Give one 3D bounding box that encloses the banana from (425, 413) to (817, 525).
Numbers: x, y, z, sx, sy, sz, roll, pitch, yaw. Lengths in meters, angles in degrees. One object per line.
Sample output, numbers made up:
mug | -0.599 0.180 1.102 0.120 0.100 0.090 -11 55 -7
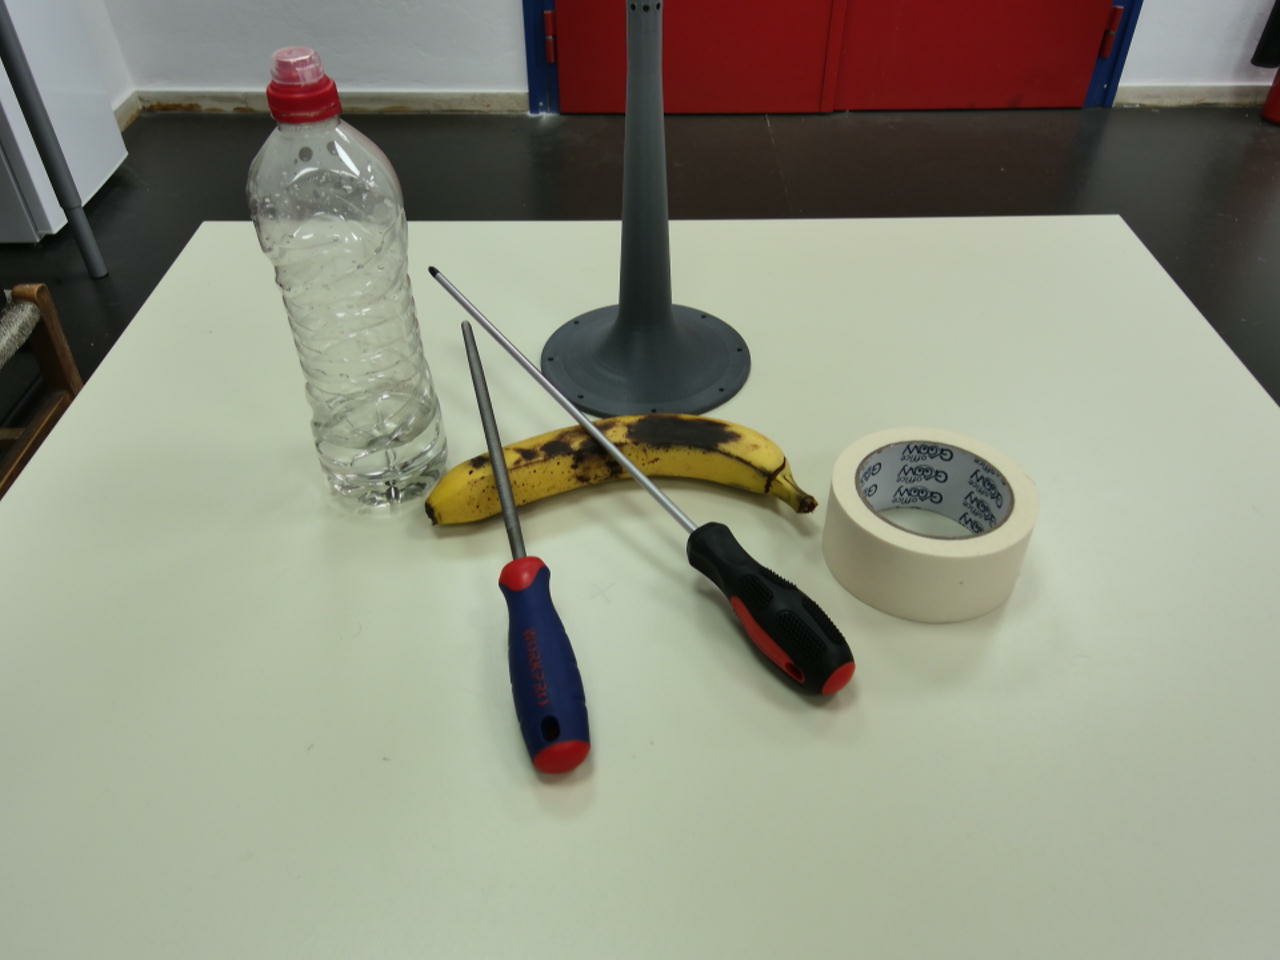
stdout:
banana | -0.011 -0.008 0.590 0.222 0.037 0.084 0 39 0
